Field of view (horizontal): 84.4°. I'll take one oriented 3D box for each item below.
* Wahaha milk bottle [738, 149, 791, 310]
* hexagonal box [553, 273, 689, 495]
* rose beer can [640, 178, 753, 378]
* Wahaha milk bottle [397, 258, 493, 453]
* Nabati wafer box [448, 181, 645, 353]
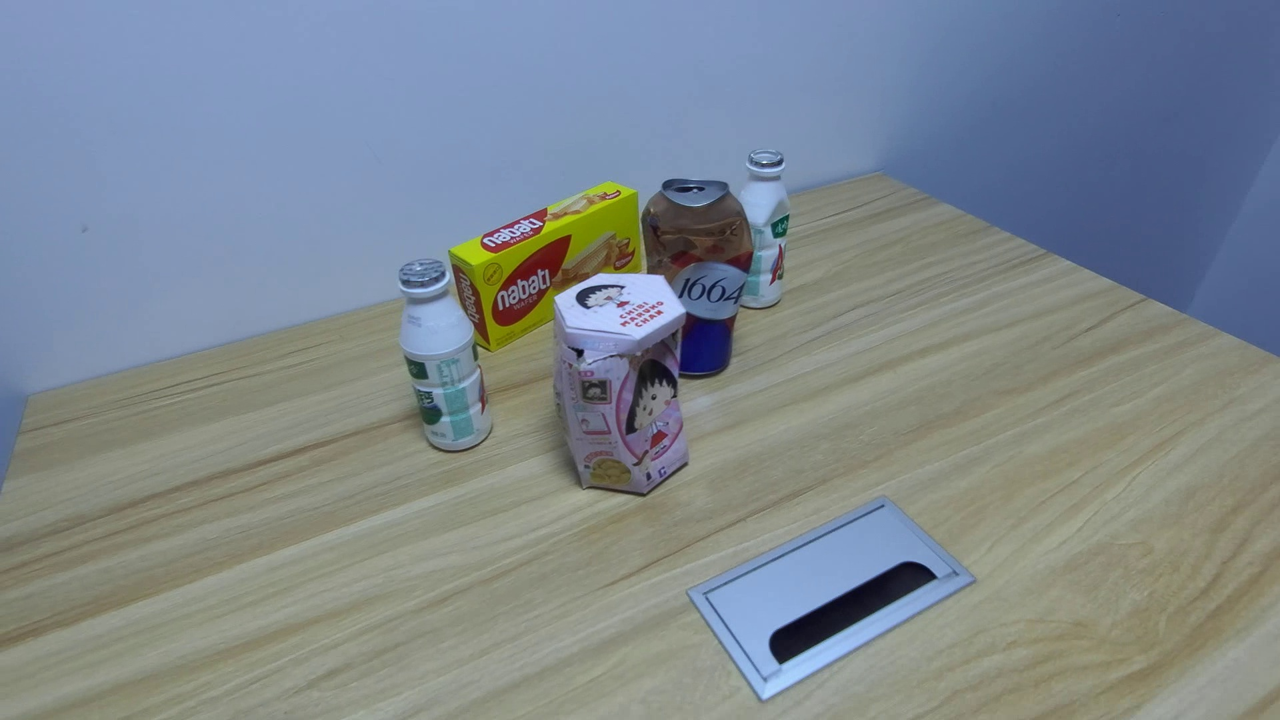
[{"bbox_3d":[0.113,-0.119,0.657,0.056,0.148,0.056,0,34,0],"label":"Wahaha milk bottle"},{"bbox_3d":[-0.014,0.018,0.494,0.091,0.135,0.090,-6,34,-3],"label":"hexagonal box"},{"bbox_3d":[0.045,-0.064,0.576,0.074,0.162,0.067,-18,38,-23],"label":"rose beer can"},{"bbox_3d":[-0.145,-0.001,0.519,0.053,0.147,0.053,-2,35,2],"label":"Wahaha milk bottle"},{"bbox_3d":[-0.080,-0.094,0.683,0.042,0.093,0.203,28,46,37],"label":"Nabati wafer box"}]
